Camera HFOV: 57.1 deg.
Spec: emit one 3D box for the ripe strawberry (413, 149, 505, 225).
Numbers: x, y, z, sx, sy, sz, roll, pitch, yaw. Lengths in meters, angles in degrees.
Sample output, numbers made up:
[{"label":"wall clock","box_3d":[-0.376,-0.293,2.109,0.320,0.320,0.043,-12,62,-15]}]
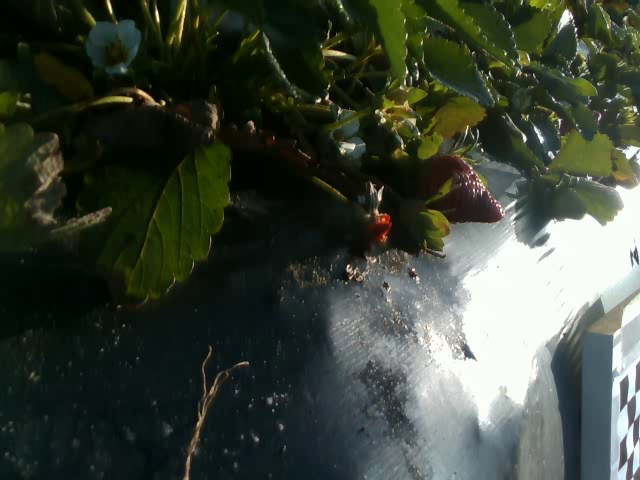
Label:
[{"label":"ripe strawberry","box_3d":[0.088,-0.025,0.339,0.051,0.041,0.052,28,51,16]}]
